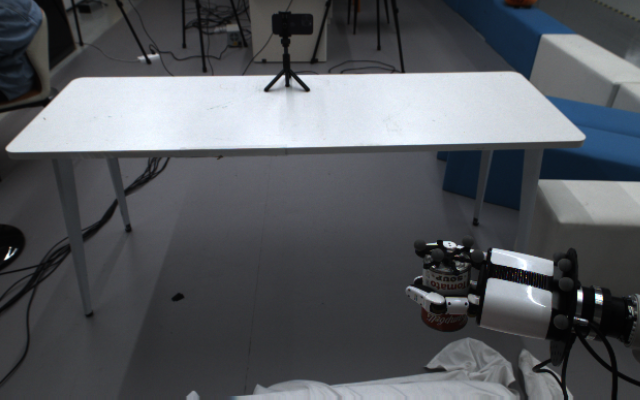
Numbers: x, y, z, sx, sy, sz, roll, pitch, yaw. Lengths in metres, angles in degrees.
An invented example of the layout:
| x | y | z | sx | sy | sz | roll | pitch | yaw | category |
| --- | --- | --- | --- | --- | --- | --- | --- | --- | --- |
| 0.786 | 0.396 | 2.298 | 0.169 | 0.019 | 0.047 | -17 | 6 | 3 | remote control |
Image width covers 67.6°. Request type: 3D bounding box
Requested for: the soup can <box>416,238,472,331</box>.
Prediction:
| x | y | z | sx | sy | sz | roll | pitch | yaw | category |
| --- | --- | --- | --- | --- | --- | --- | --- | --- | --- |
| 0.183 | 0.128 | 0.700 | 0.067 | 0.101 | 0.067 | -3 | 25 | 2 | soup can |
